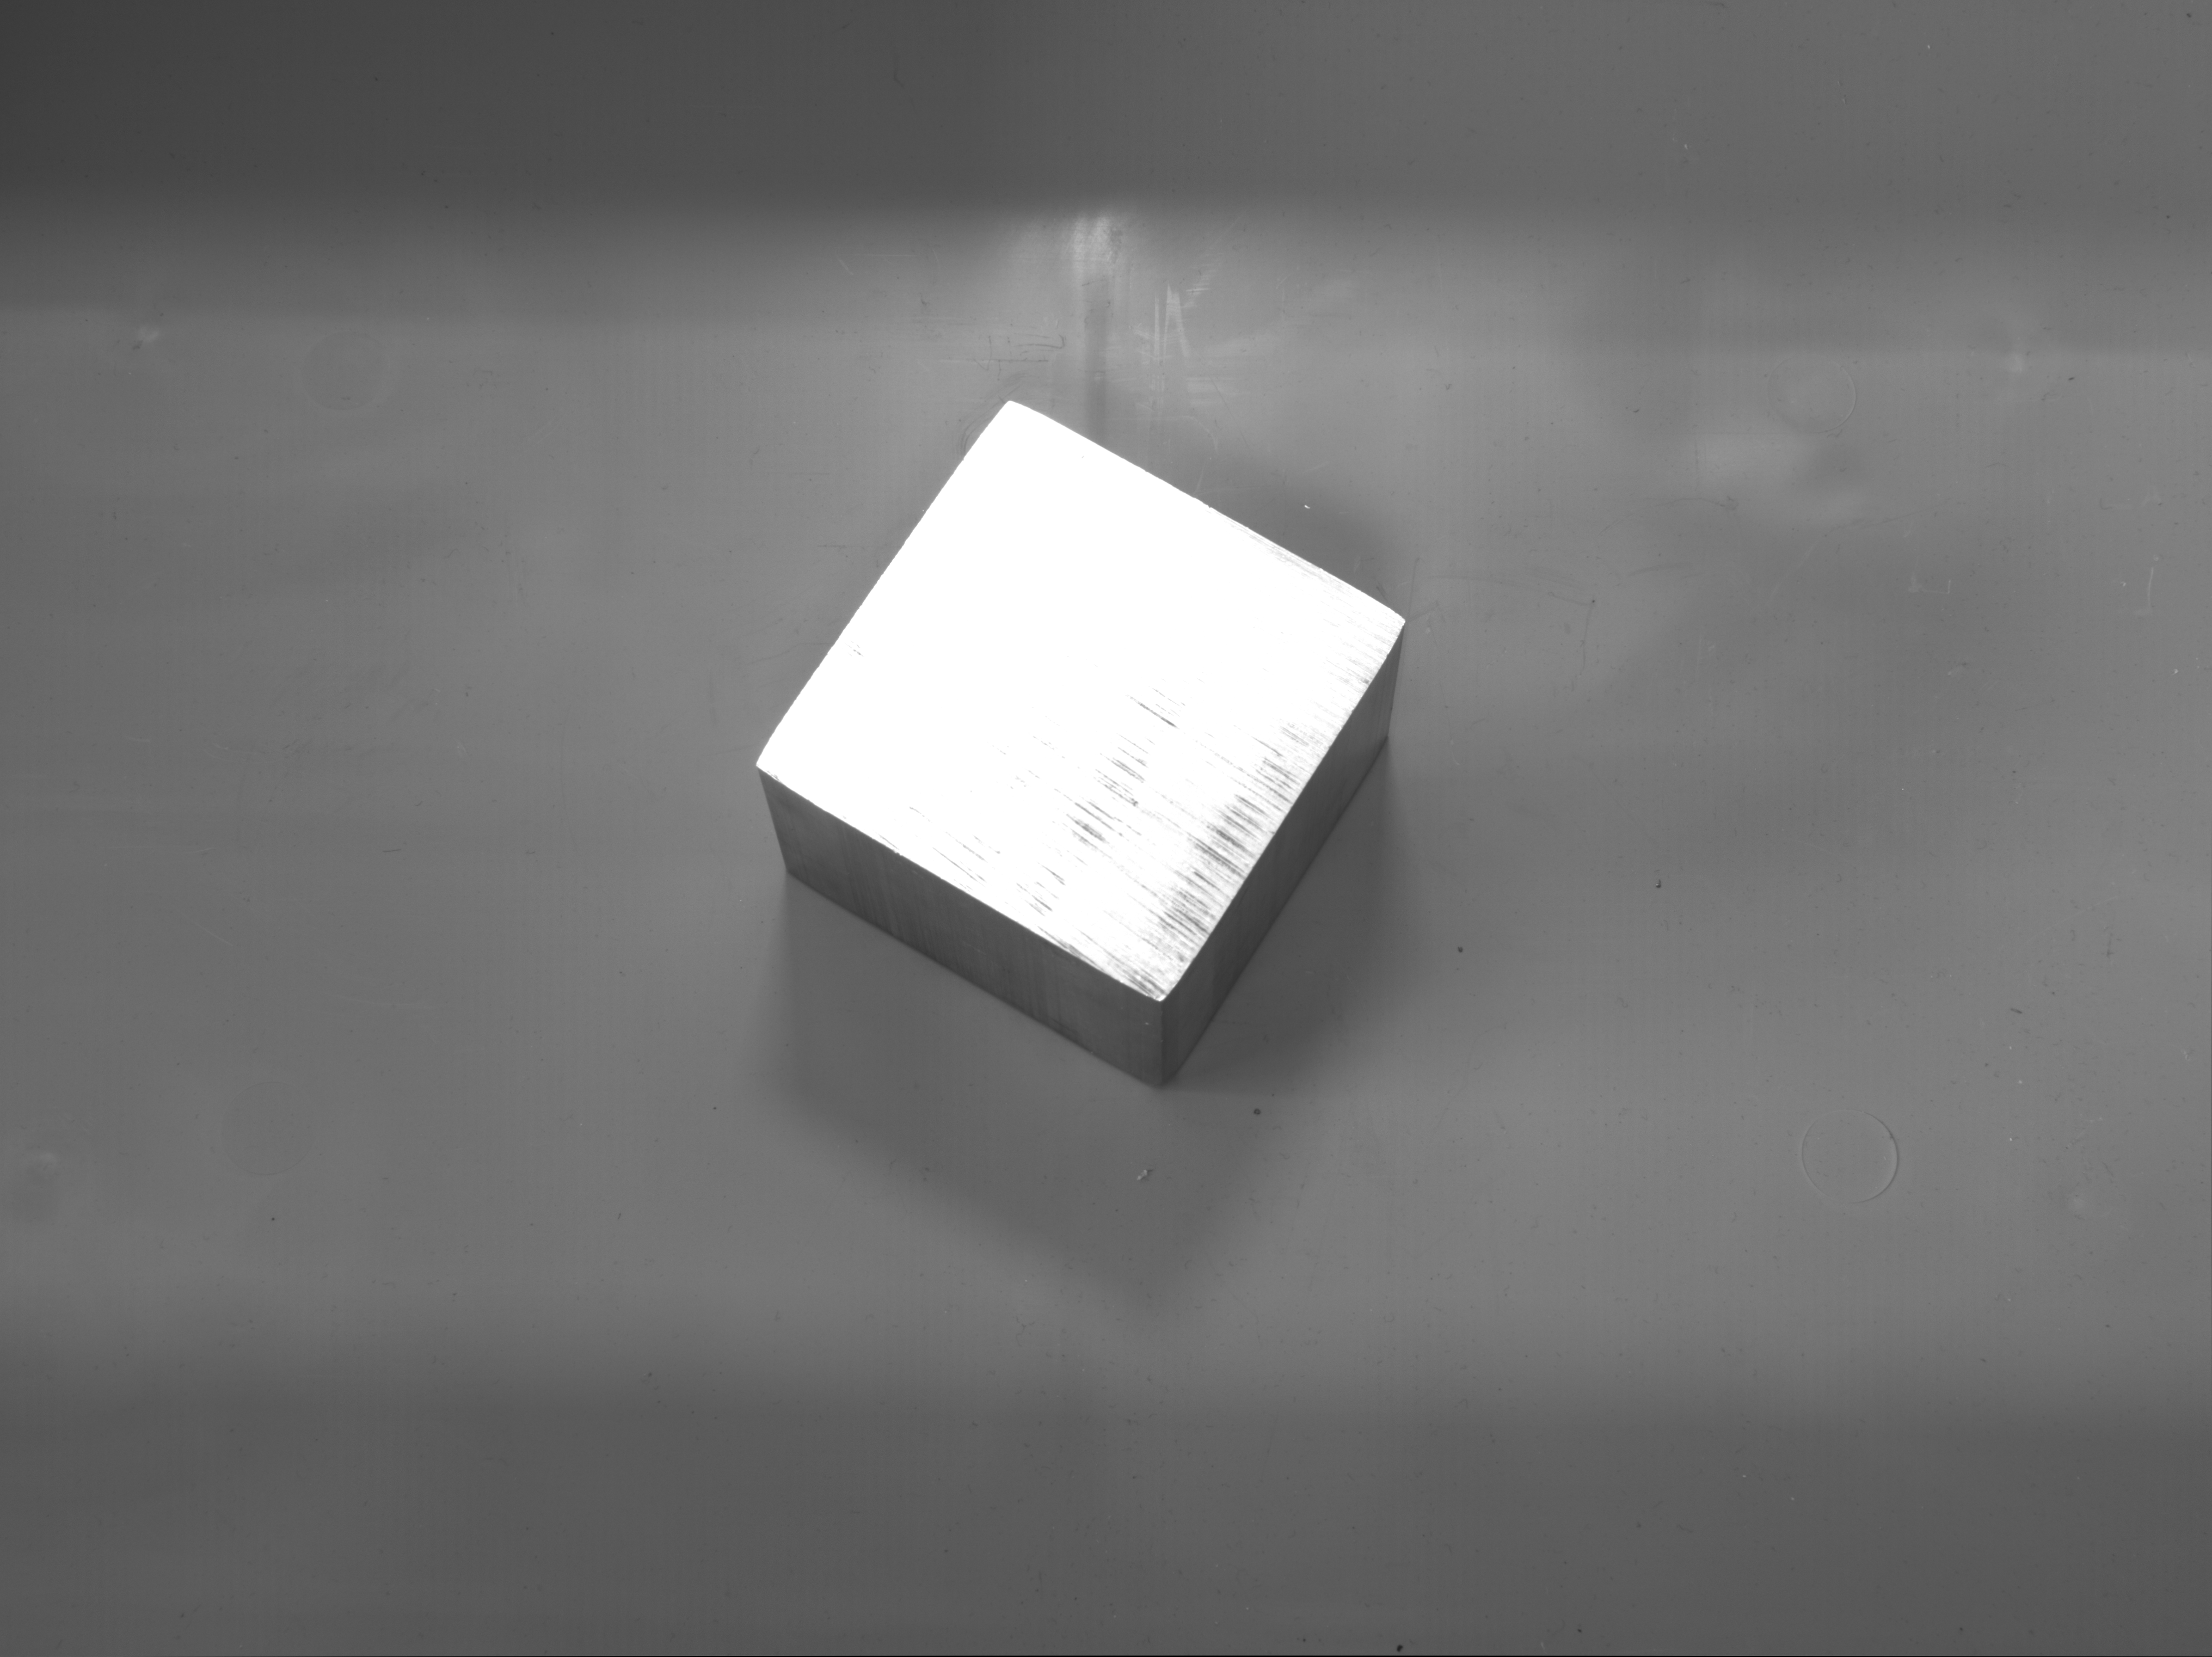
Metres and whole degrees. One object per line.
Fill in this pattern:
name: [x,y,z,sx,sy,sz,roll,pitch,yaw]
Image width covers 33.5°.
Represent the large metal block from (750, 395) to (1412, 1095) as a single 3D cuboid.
large metal block: [-0.004,-0.014,0.634,0.080,0.050,0.080,30,72,10]
